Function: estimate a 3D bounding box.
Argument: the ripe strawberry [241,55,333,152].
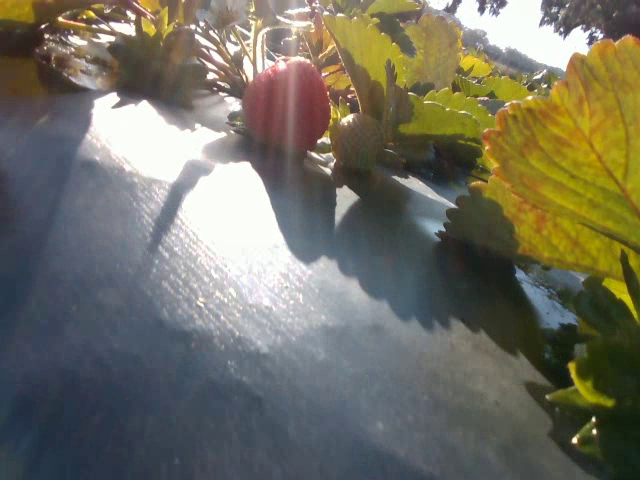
[{"bbox_3d":[-0.009,-0.042,0.196,0.042,0.037,0.045,39,-31,6],"label":"ripe strawberry"}]
